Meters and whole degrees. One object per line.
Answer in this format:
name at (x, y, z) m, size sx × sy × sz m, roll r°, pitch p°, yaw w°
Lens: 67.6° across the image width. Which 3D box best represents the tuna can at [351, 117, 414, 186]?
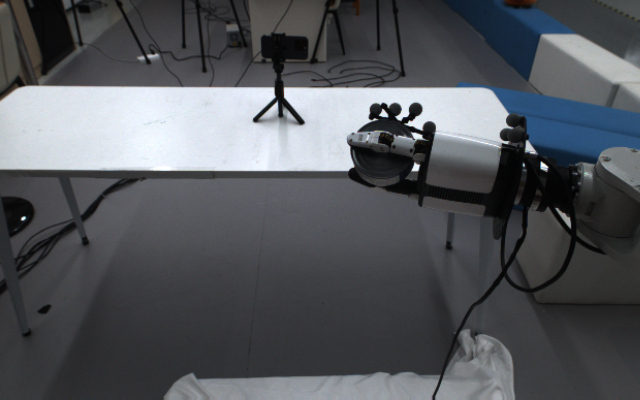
tuna can at (0.087, -0.065, 0.651) m, size 0.085 × 0.034 × 0.085 m, roll -4°, pitch 67°, yaw 10°
